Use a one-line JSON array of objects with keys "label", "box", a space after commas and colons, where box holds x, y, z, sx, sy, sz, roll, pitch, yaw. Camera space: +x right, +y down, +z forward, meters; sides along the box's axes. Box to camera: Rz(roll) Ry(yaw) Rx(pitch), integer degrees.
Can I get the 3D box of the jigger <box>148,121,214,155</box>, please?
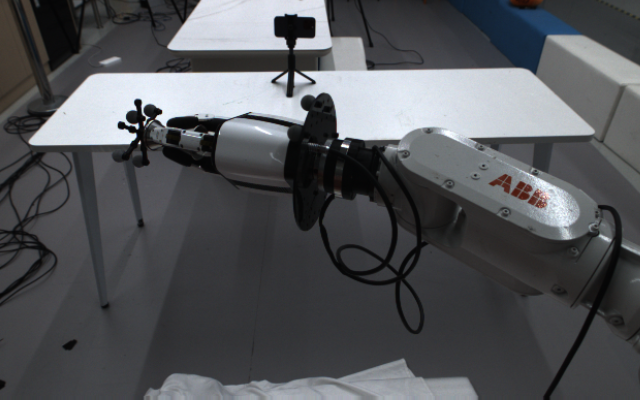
[{"label": "jigger", "box": [-0.178, -0.080, 0.606, 0.071, 0.043, 0.043, 10, 35, 16]}]
